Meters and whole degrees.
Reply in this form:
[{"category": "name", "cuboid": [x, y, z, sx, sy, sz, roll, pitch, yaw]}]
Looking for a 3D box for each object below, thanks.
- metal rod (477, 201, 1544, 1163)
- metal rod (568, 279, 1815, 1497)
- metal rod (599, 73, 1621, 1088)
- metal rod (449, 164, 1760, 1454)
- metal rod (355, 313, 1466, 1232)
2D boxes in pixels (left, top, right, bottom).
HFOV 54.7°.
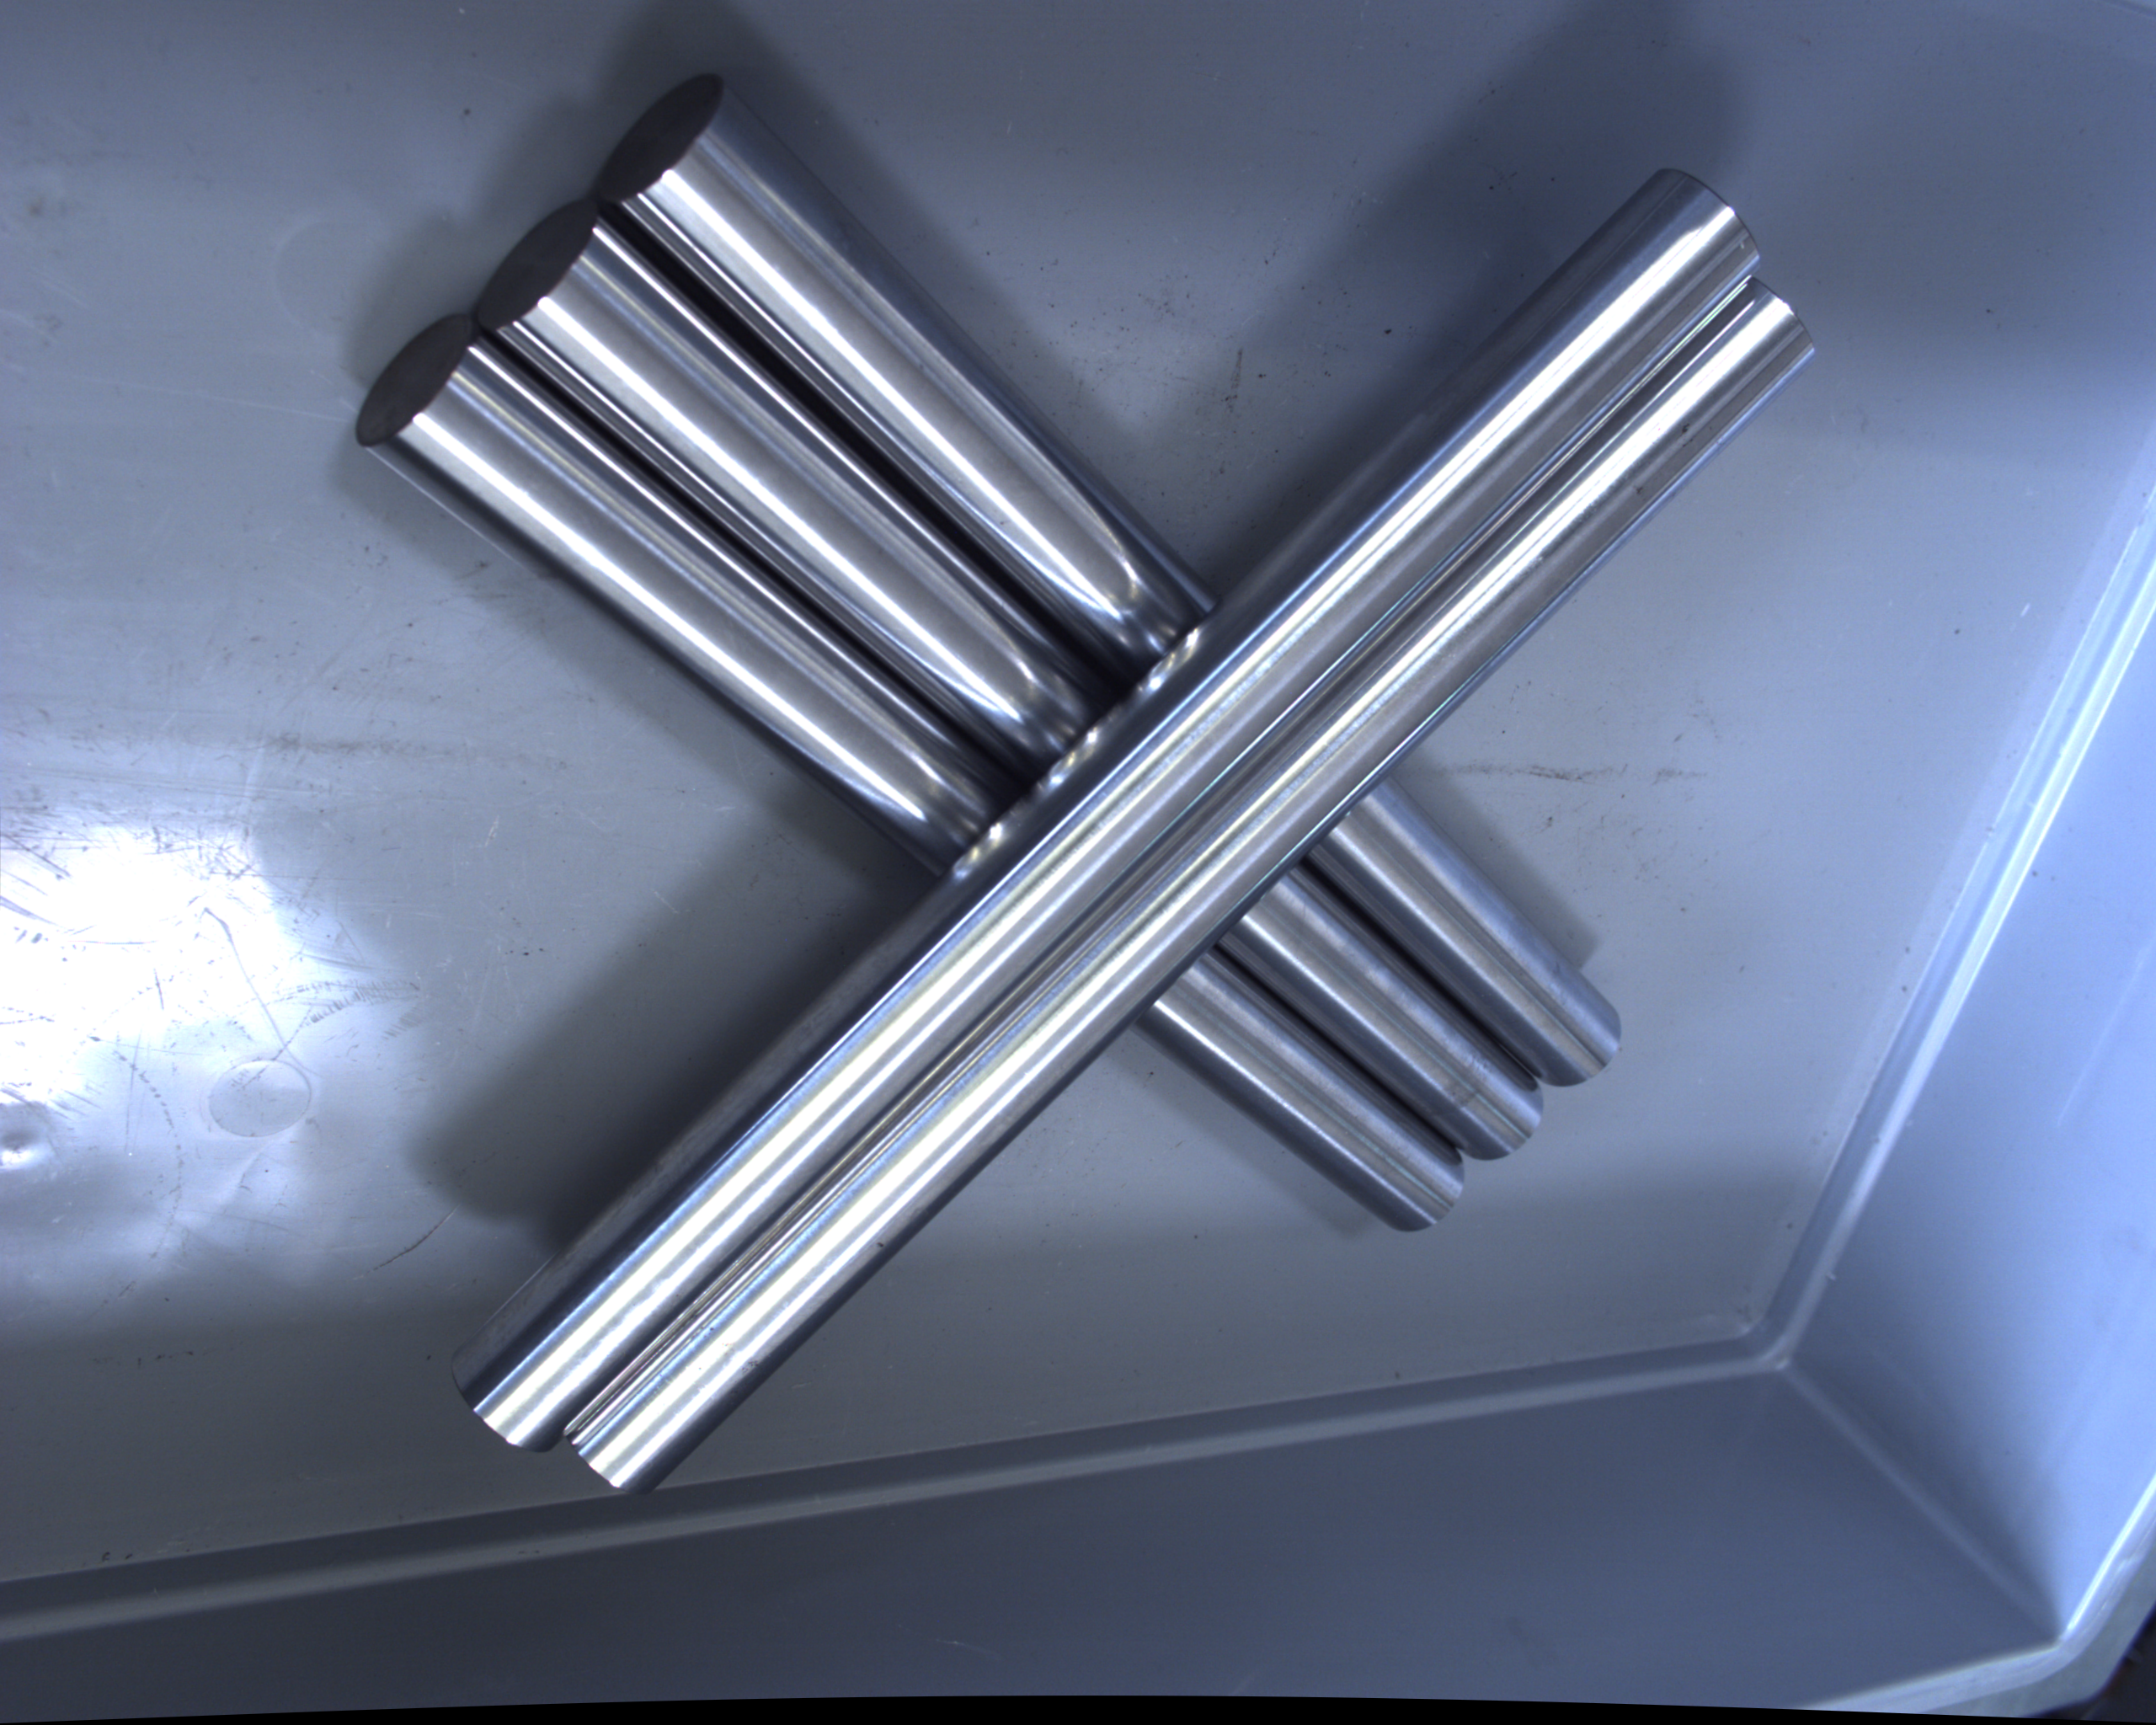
[{"category": "metal rod", "cuboid": [0.010, -0.014, 0.403, 0.025, 0.025, 0.301, -47, 129, 4]}, {"category": "metal rod", "cuboid": [0.018, 0.005, 0.387, 0.300, 0.025, 0.025, -45, 129, 3]}, {"category": "metal rod", "cuboid": [0.028, -0.032, 0.402, 0.025, 0.025, 0.301, -47, 129, 4]}, {"category": "metal rod", "cuboid": [0.003, -0.007, 0.371, 0.300, 0.025, 0.025, -45, 129, 3]}, {"category": "metal rod", "cuboid": [-0.008, 0.003, 0.403, 0.025, 0.025, 0.301, -47, 129, 4]}]
